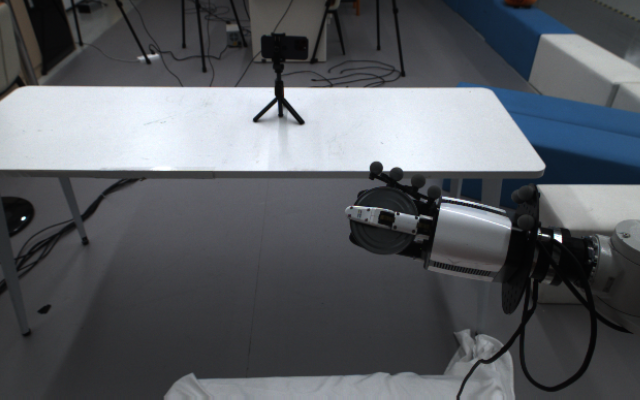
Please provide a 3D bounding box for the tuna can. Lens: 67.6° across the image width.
[{"bbox_3d":[0.083,0.024,0.611,0.085,0.085,0.034,14,-7,16],"label":"tuna can"}]
